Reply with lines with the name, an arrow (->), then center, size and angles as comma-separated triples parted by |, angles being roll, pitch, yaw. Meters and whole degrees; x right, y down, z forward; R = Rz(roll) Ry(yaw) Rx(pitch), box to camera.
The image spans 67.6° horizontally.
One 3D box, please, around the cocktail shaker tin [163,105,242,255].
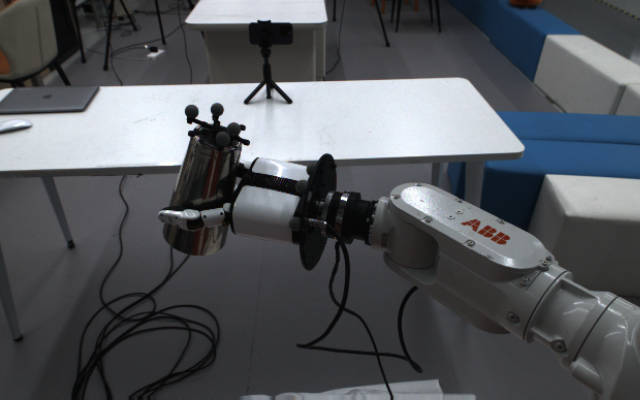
cocktail shaker tin -> -0.159, -0.018, 0.673 | 0.093, 0.170, 0.093 | 16, 31, -10
